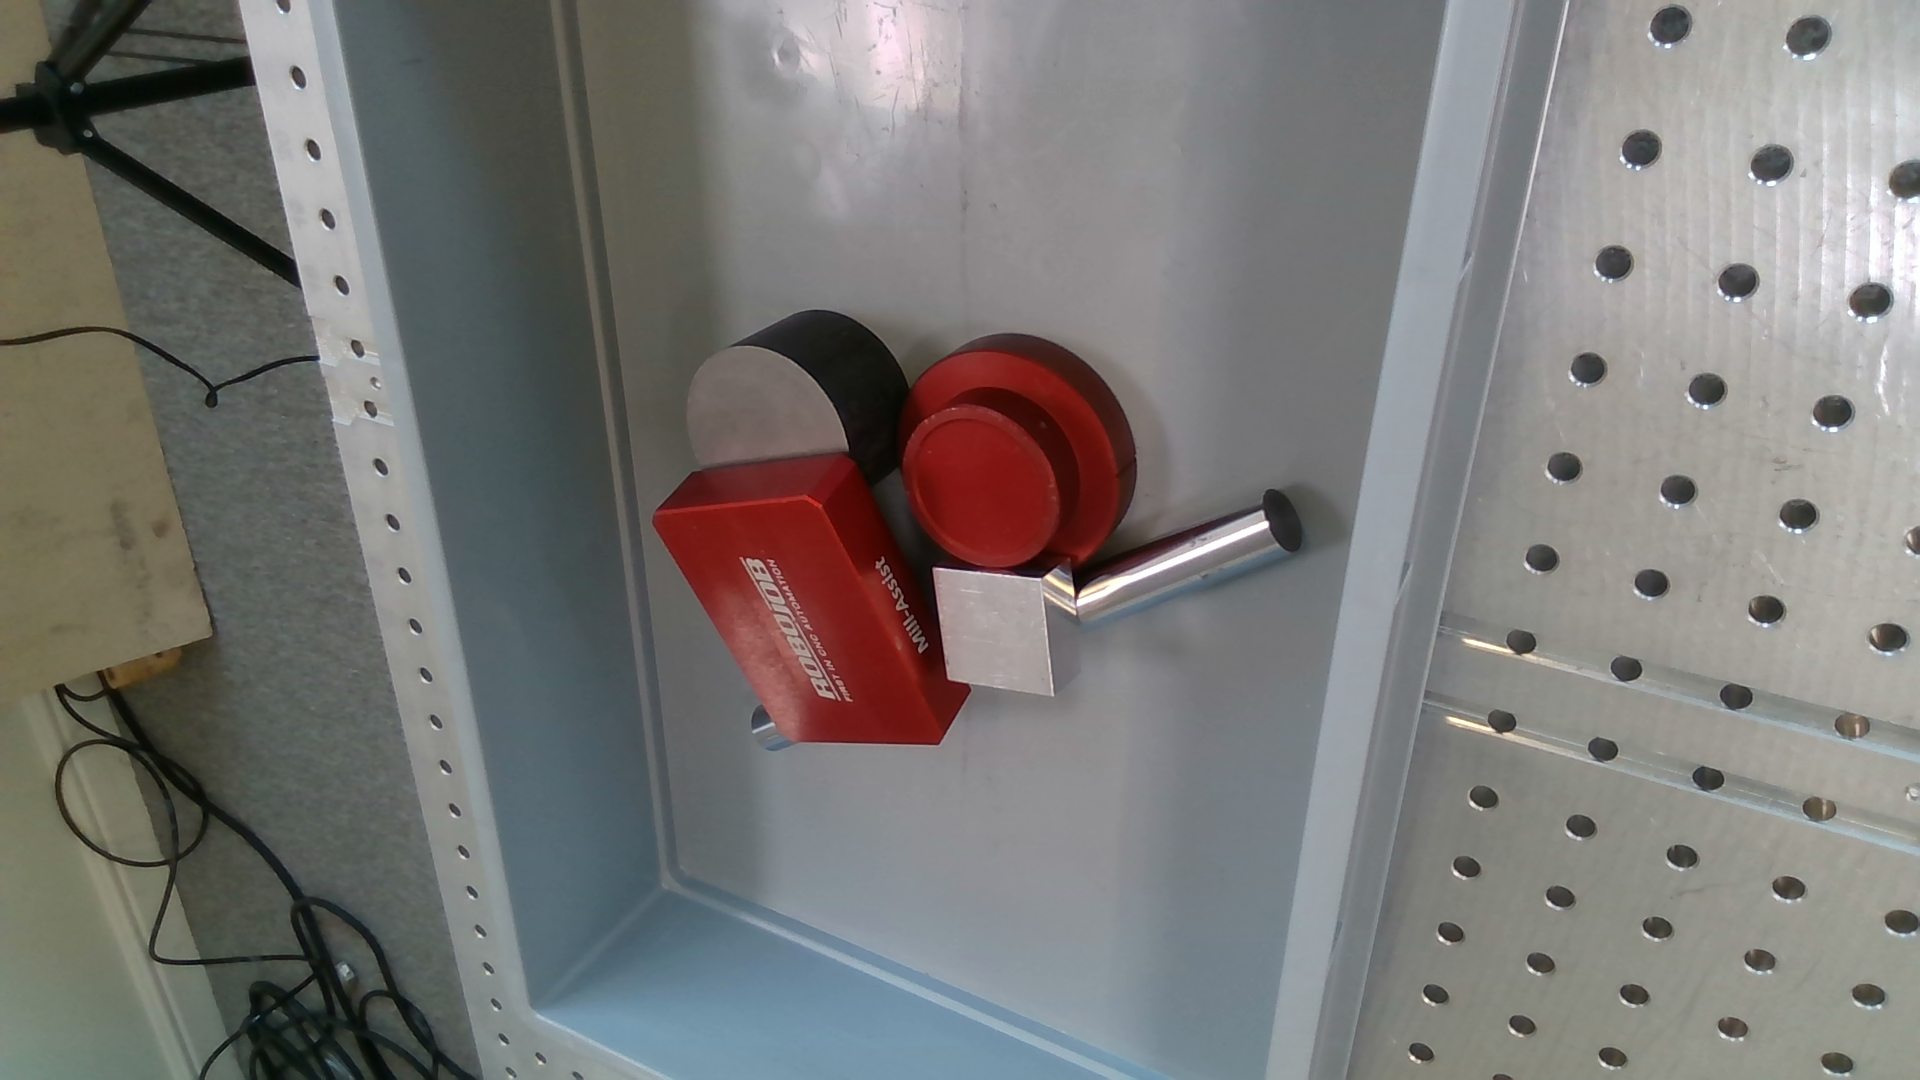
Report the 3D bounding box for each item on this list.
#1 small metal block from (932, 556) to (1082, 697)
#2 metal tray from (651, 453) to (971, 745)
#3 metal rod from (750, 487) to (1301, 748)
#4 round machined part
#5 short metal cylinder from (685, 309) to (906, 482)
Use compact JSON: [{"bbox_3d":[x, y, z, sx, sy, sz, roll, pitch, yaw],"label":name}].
[{"bbox_3d":[0.019,0.032,0.554,0.050,0.025,0.050,6,113,32],"label":"small metal block"},{"bbox_3d":[-0.061,0.029,0.579,0.090,0.030,0.130,-4,125,33],"label":"metal tray"},{"bbox_3d":[0.011,0.043,0.596,0.300,0.025,0.025,-25,100,38],"label":"metal rod"},{"bbox_3d":[0.016,-0.028,0.541,0.098,0.042,0.098,14,120,25],"label":"round machined part"},{"bbox_3d":[-0.067,-0.050,0.576,0.080,0.050,0.080,14,122,25],"label":"short metal cylinder"}]
